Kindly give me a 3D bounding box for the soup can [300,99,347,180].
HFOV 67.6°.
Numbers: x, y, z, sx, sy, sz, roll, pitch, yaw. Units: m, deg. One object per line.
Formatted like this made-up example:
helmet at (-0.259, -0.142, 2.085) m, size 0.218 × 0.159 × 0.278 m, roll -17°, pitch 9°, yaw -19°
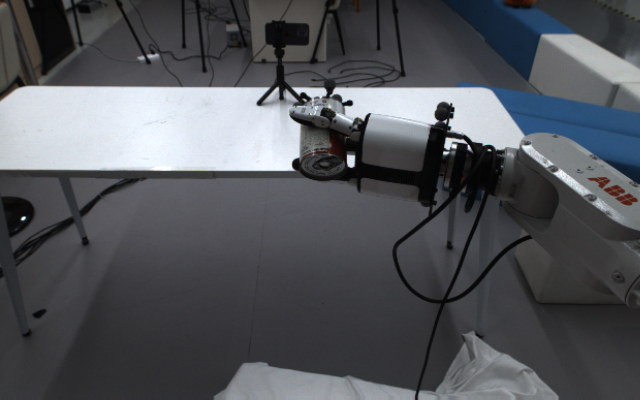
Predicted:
soup can at (0.004, -0.088, 0.688) m, size 0.067 × 0.067 × 0.101 m, roll 1°, pitch 61°, yaw -1°
